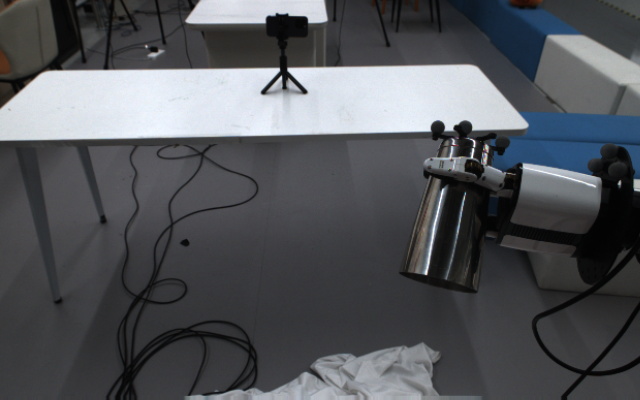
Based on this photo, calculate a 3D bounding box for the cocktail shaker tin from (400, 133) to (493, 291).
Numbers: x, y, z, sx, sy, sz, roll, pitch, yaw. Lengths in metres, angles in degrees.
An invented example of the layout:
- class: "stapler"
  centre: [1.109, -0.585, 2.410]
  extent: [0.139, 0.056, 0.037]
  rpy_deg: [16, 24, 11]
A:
- class: "cocktail shaker tin"
  centre: [0.162, 0.013, 0.580]
  extent: [0.093, 0.093, 0.170]
  rpy_deg: [13, 77, 15]
